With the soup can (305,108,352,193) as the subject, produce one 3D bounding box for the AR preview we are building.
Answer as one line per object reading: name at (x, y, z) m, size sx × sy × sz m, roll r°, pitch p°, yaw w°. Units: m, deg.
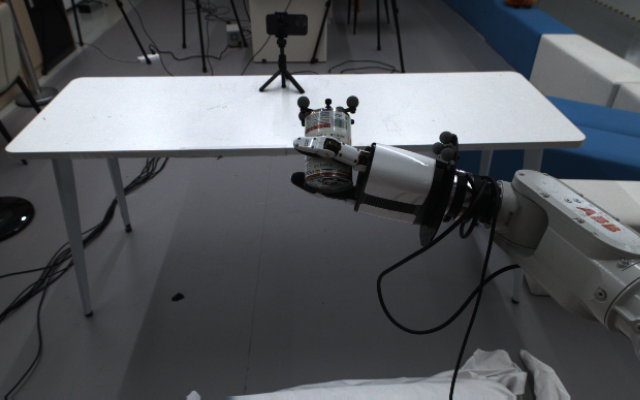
soup can at (0.012, -0.068, 0.672) m, size 0.067 × 0.067 × 0.101 m, roll 1°, pitch 73°, yaw -2°
